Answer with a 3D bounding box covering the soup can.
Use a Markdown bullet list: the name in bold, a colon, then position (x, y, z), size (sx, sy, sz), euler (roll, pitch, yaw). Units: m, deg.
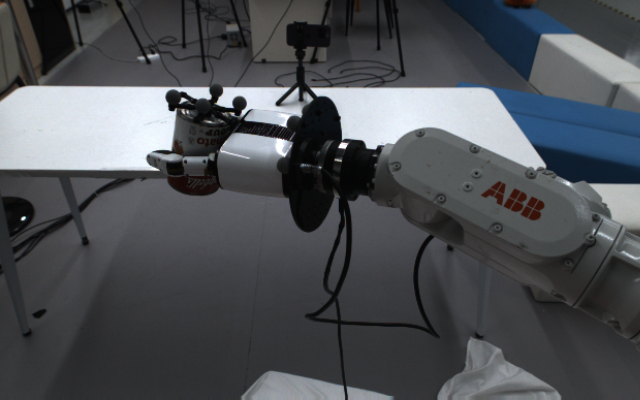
- **soup can**: position (-0.152, -0.063, 0.610), size (0.067, 0.101, 0.067), euler (14, 31, -8)
